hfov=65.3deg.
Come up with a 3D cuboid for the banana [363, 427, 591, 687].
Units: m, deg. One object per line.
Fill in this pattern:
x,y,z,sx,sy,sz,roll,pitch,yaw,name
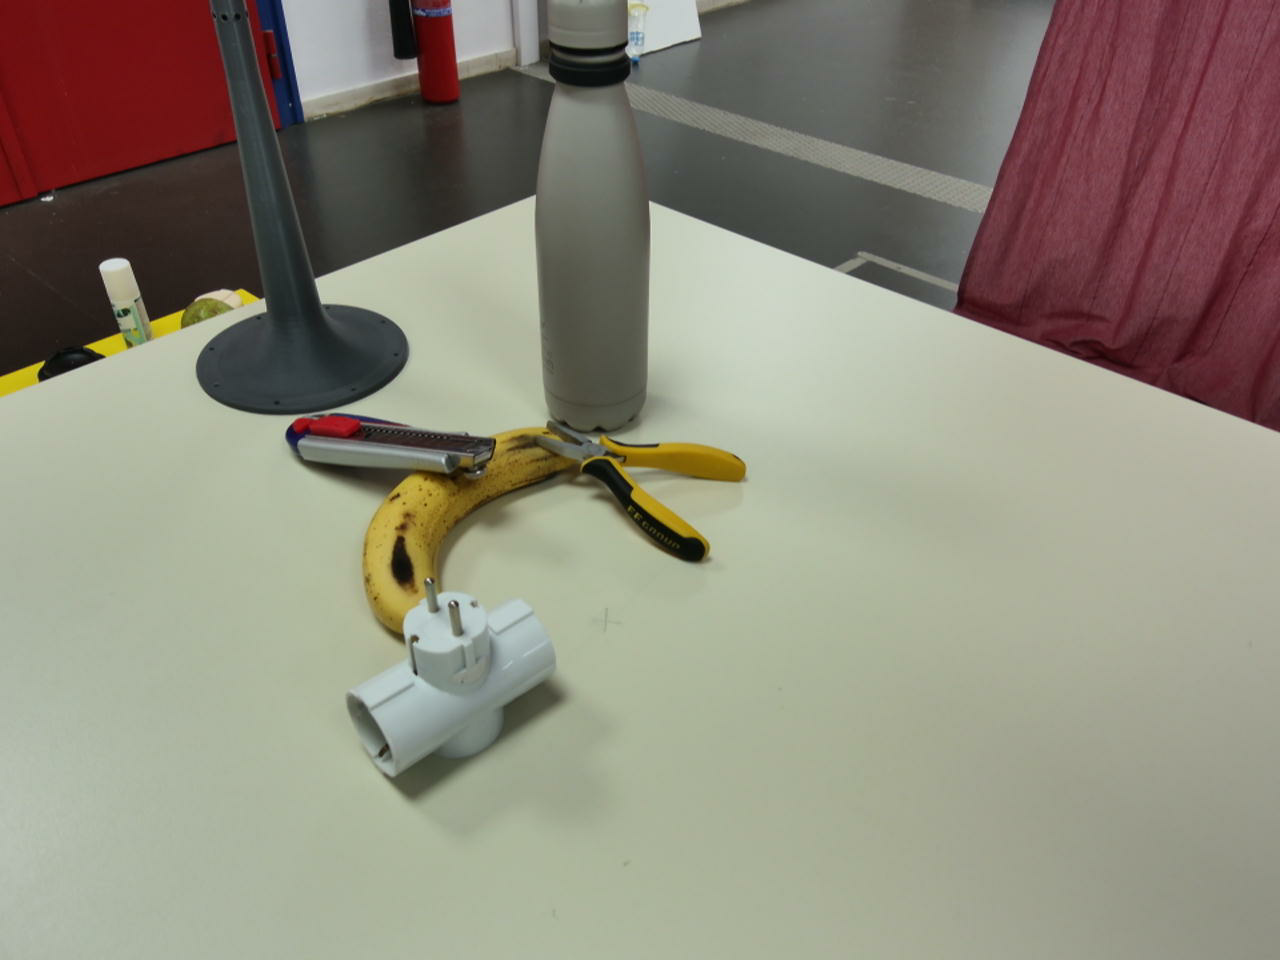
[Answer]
-0.098,0.024,0.570,0.097,0.038,0.186,9,38,10,banana
